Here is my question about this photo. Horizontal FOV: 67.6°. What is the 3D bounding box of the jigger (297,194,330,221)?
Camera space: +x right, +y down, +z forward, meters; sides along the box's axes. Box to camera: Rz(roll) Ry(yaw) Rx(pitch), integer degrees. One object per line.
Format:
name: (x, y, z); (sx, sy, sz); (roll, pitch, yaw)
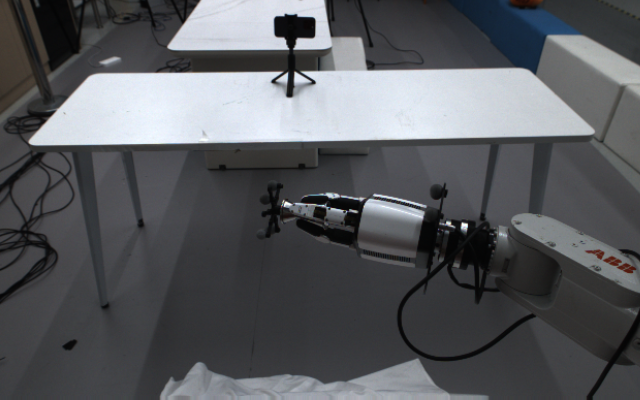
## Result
jigger: (-0.015, 0.017, 0.725); (0.071, 0.043, 0.043); (5, 34, 14)
